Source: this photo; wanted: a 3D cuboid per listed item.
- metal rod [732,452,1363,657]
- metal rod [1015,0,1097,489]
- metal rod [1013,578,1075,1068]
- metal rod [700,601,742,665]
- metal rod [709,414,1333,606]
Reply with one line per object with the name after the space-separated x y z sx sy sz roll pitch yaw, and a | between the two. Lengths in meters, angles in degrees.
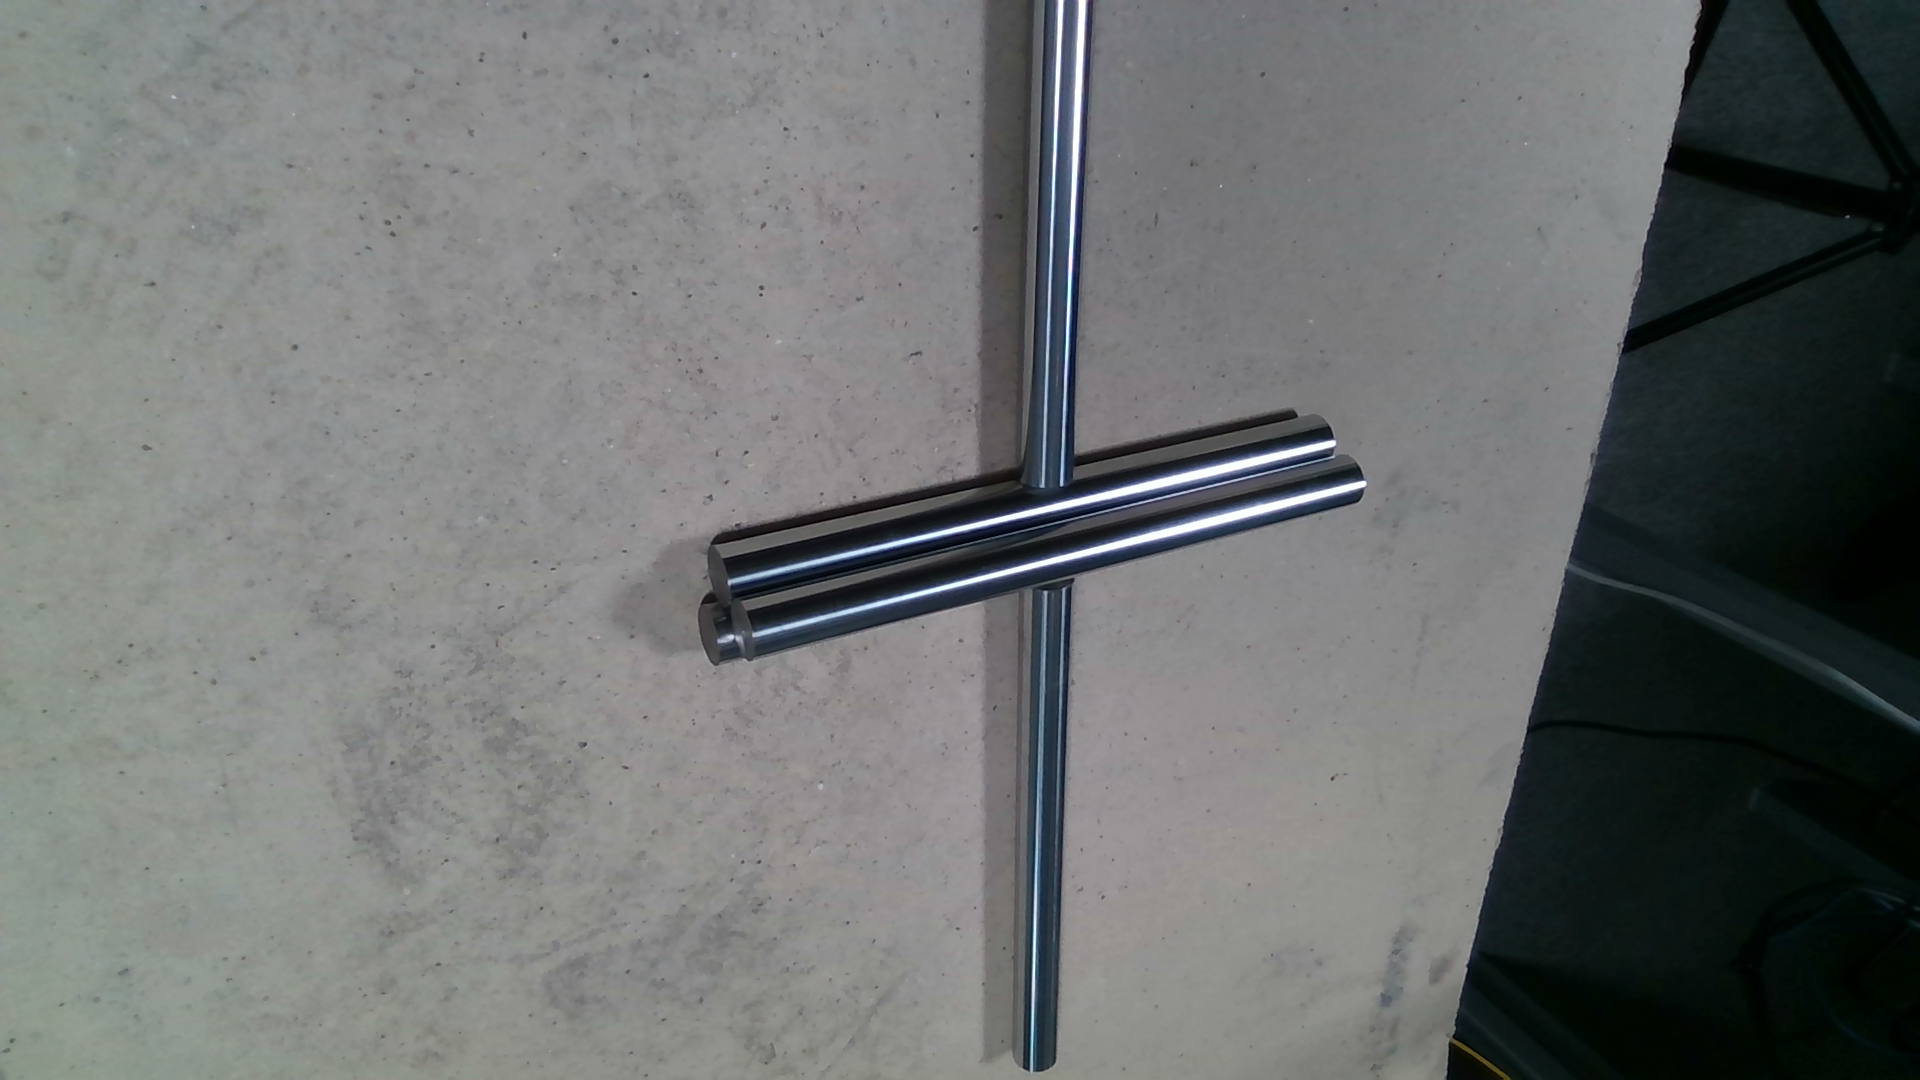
0.050 0.001 0.586 0.300 0.025 0.025 -13 121 -25 | metal rod
0.037 -0.160 0.517 0.025 0.025 0.301 -14 121 -25 | metal rod
0.040 0.148 0.685 0.025 0.025 0.301 -15 122 -25 | metal rod
0.033 0.006 0.605 0.300 0.025 0.025 -13 121 -25 | metal rod
0.038 -0.017 0.596 0.300 0.025 0.025 -13 121 -25 | metal rod
